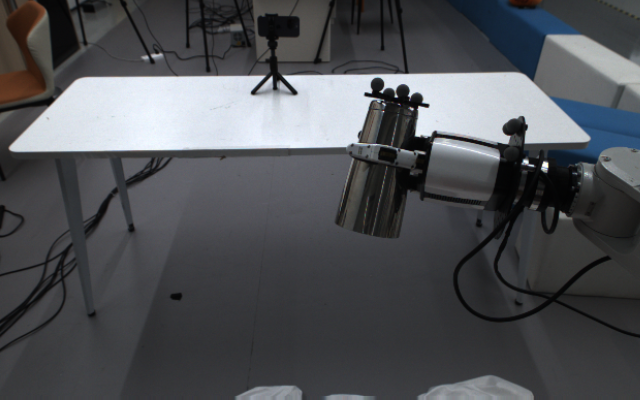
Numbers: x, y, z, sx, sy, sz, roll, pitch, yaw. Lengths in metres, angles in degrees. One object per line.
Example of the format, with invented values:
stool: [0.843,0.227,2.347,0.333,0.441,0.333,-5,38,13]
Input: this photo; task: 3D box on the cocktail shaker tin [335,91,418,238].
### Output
cocktail shaker tin: [0.083,-0.043,0.654,0.093,0.170,0.093,12,7,-1]
